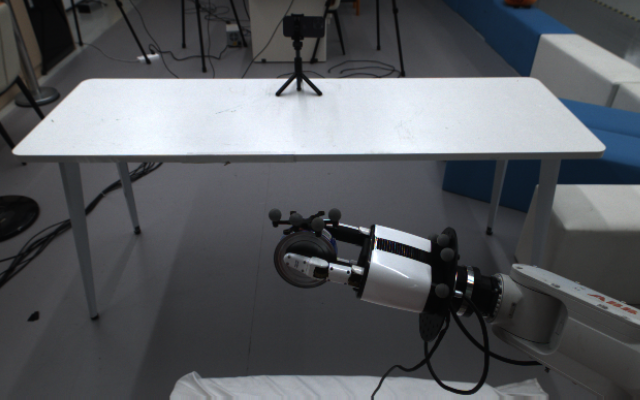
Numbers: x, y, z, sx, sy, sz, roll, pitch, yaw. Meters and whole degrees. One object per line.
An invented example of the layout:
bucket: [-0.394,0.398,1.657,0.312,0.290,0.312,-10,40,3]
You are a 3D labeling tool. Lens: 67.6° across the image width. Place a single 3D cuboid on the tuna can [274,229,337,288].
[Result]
tuna can: [-0.016,0.080,0.658,0.085,0.085,0.034,4,18,3]
